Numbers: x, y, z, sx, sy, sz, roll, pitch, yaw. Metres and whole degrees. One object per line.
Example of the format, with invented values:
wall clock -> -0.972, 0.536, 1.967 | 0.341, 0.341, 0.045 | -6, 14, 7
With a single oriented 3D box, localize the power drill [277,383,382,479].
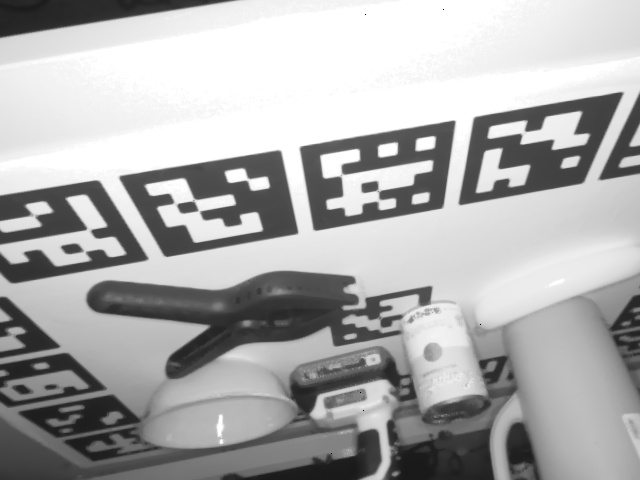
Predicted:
power drill -> 0.005, 0.247, 0.688 | 0.184, 0.188, 0.057 | -12, 143, 3

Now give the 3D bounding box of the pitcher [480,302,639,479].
pitcher -> 0.238, 0.191, 0.661 | 0.187, 0.243, 0.134 | -25, 144, 19

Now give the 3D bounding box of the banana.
banana -> 0.214, 0.042, 0.635 | 0.195, 0.039, 0.075 | -25, 149, 20

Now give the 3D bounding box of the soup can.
soup can -> 0.102, 0.120, 0.651 | 0.068, 0.102, 0.067 | -9, 151, -4

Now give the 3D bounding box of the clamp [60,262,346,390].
clamp -> -0.080, 0.060, 0.568 | 0.203, 0.037, 0.164 | -12, 139, 1

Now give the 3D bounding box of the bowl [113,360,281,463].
bowl -> -0.120, 0.166, 0.690 | 0.162, 0.055, 0.160 | -8, 142, -5
